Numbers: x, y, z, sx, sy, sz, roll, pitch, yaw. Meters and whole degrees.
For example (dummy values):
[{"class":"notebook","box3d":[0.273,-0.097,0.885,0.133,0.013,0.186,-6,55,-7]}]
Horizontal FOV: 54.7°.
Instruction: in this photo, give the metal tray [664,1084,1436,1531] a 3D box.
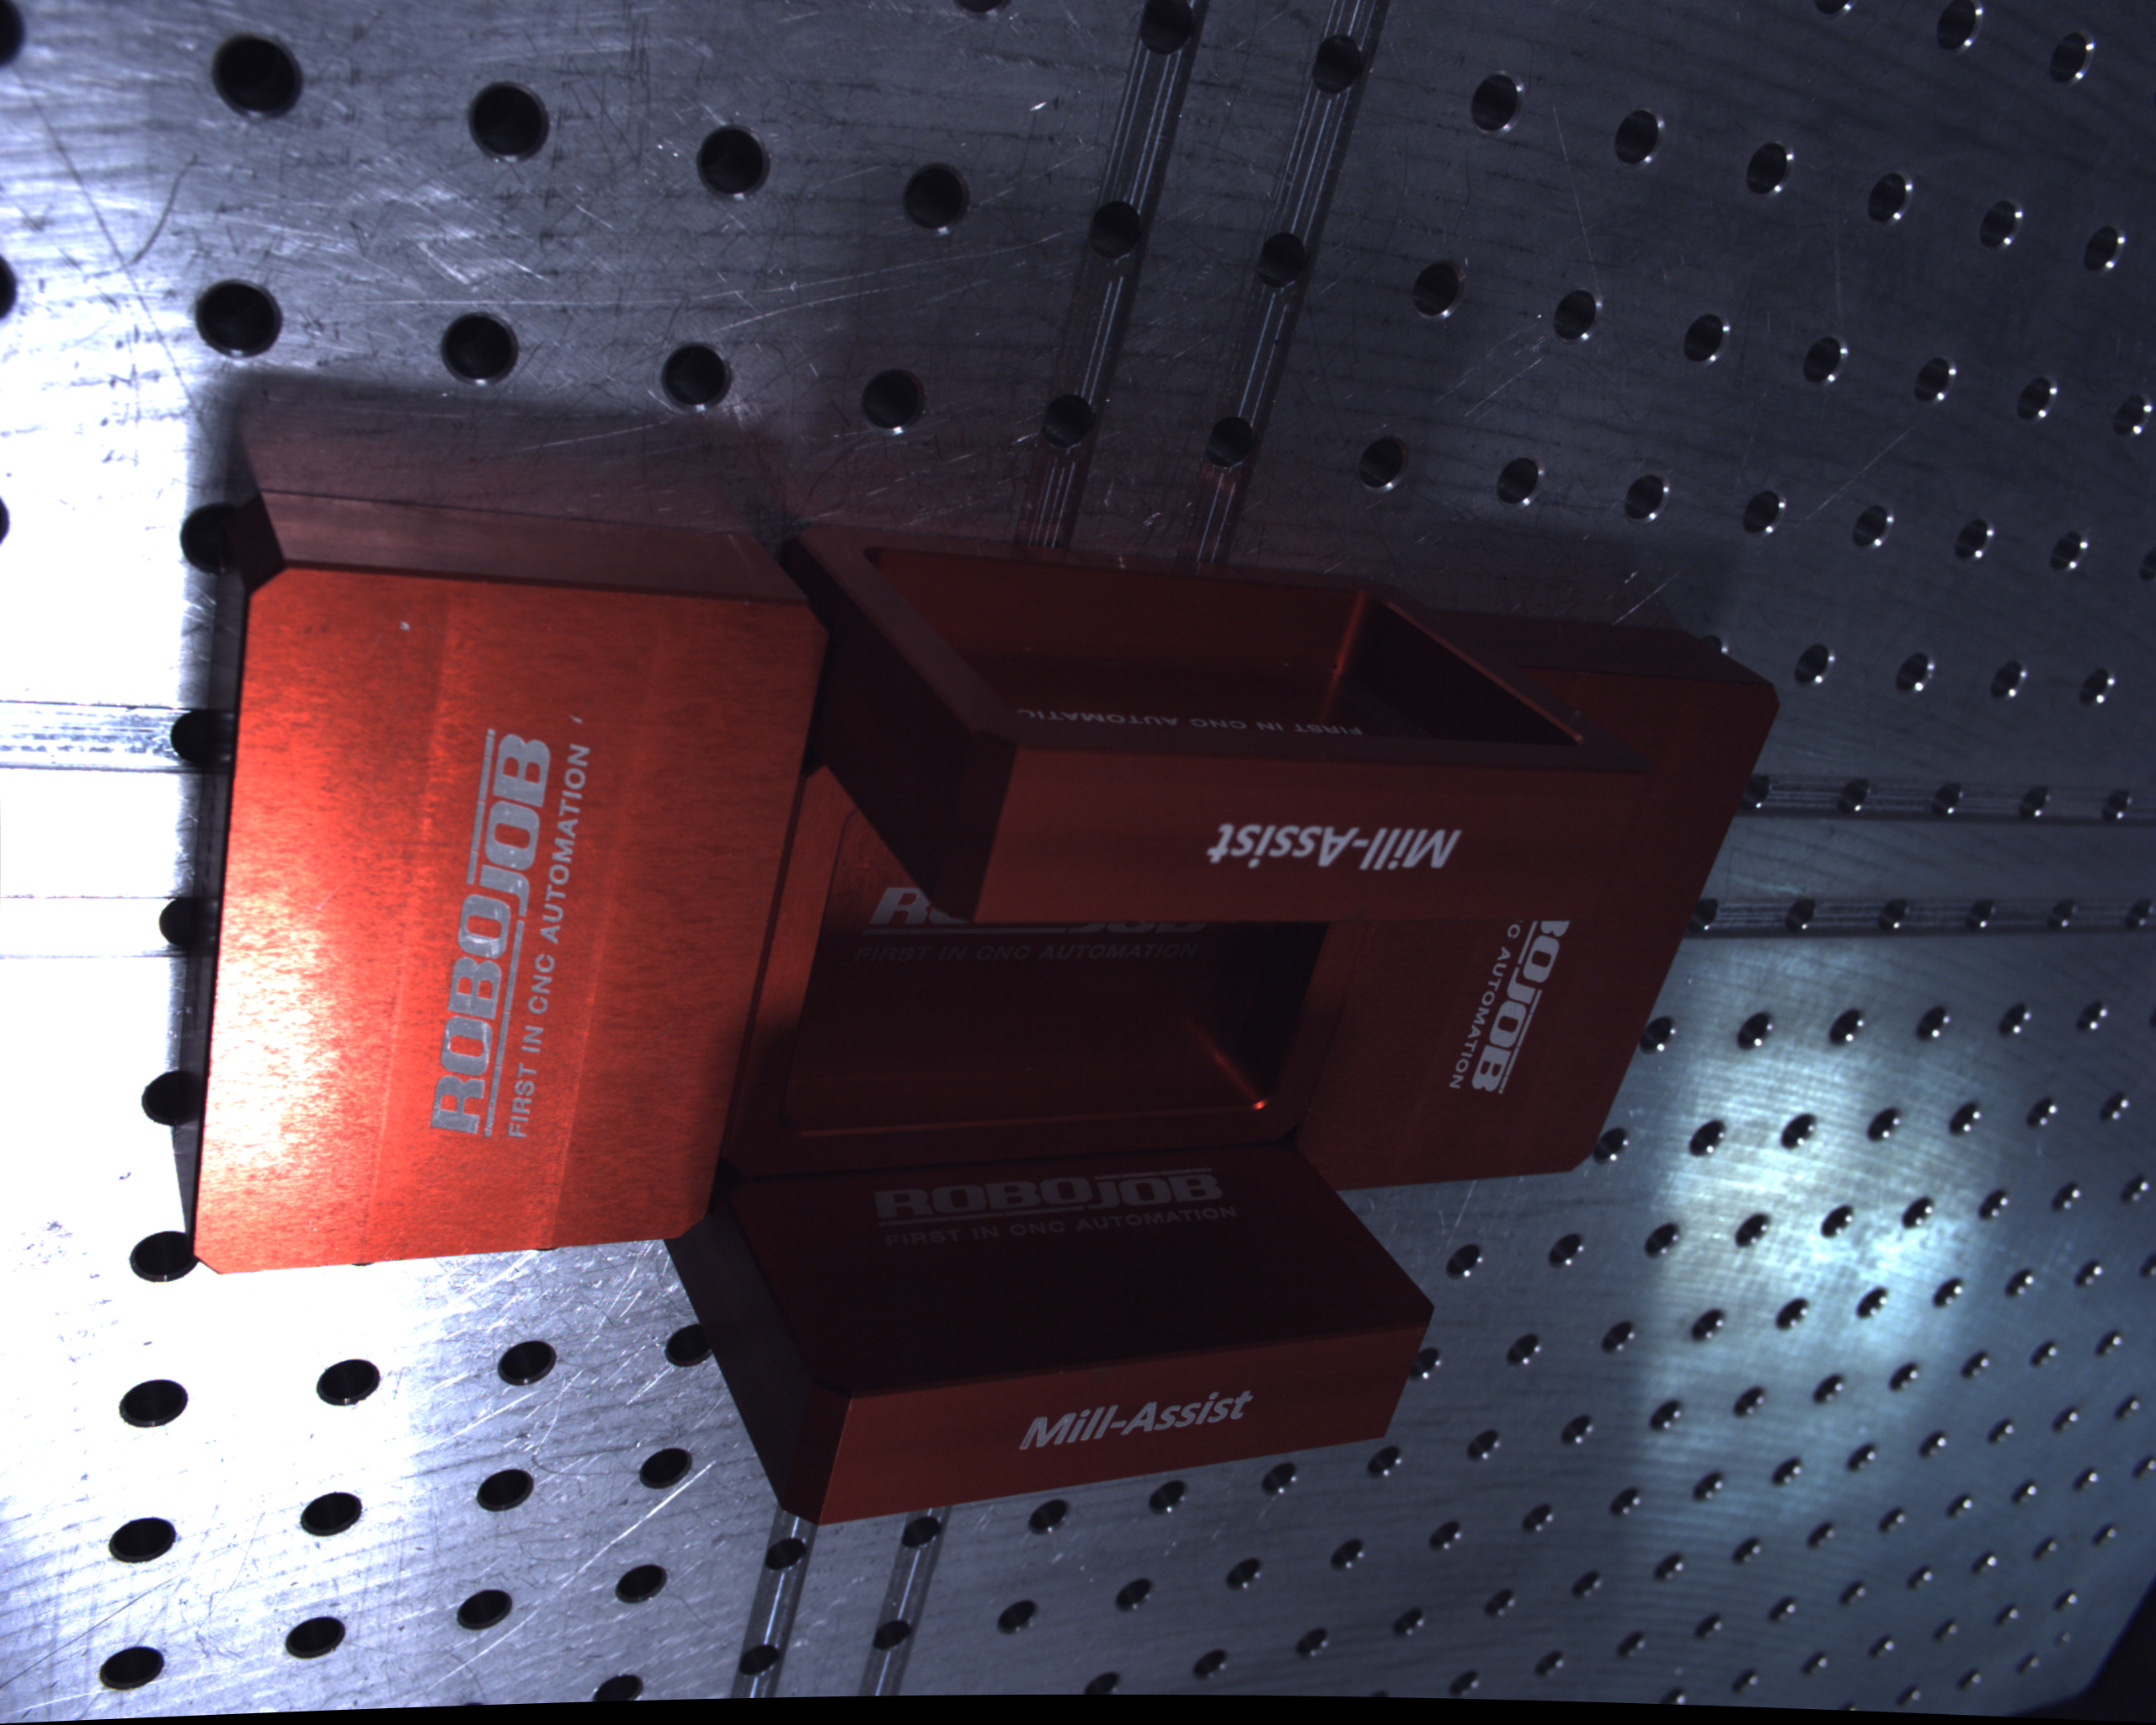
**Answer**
[{"class":"metal tray","box3d":[-0.007,0.081,0.415,0.131,0.090,0.030,1,118,-29]}]

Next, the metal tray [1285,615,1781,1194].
[{"class":"metal tray","box3d":[0.093,0.011,0.466,0.091,0.030,0.129,0,118,-30]}]

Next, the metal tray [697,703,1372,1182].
[{"class":"metal tray","box3d":[-0.005,0.014,0.413,0.131,0.030,0.089,1,118,-29]}]

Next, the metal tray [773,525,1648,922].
[{"class":"metal tray","box3d":[0.022,-0.025,0.367,0.131,0.090,0.030,1,118,-29]}]

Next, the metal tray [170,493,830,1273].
[{"class":"metal tray","box3d":[-0.101,0.007,0.357,0.091,0.030,0.129,1,118,-29]}]
